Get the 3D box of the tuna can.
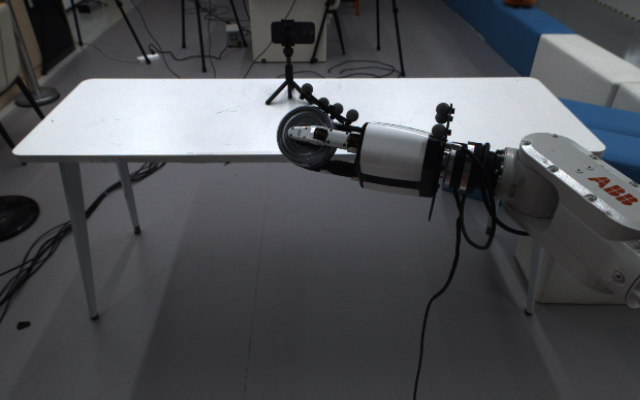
[{"bbox_3d":[-0.017,-0.092,0.692,0.085,0.085,0.034,13,-4,15],"label":"tuna can"}]
